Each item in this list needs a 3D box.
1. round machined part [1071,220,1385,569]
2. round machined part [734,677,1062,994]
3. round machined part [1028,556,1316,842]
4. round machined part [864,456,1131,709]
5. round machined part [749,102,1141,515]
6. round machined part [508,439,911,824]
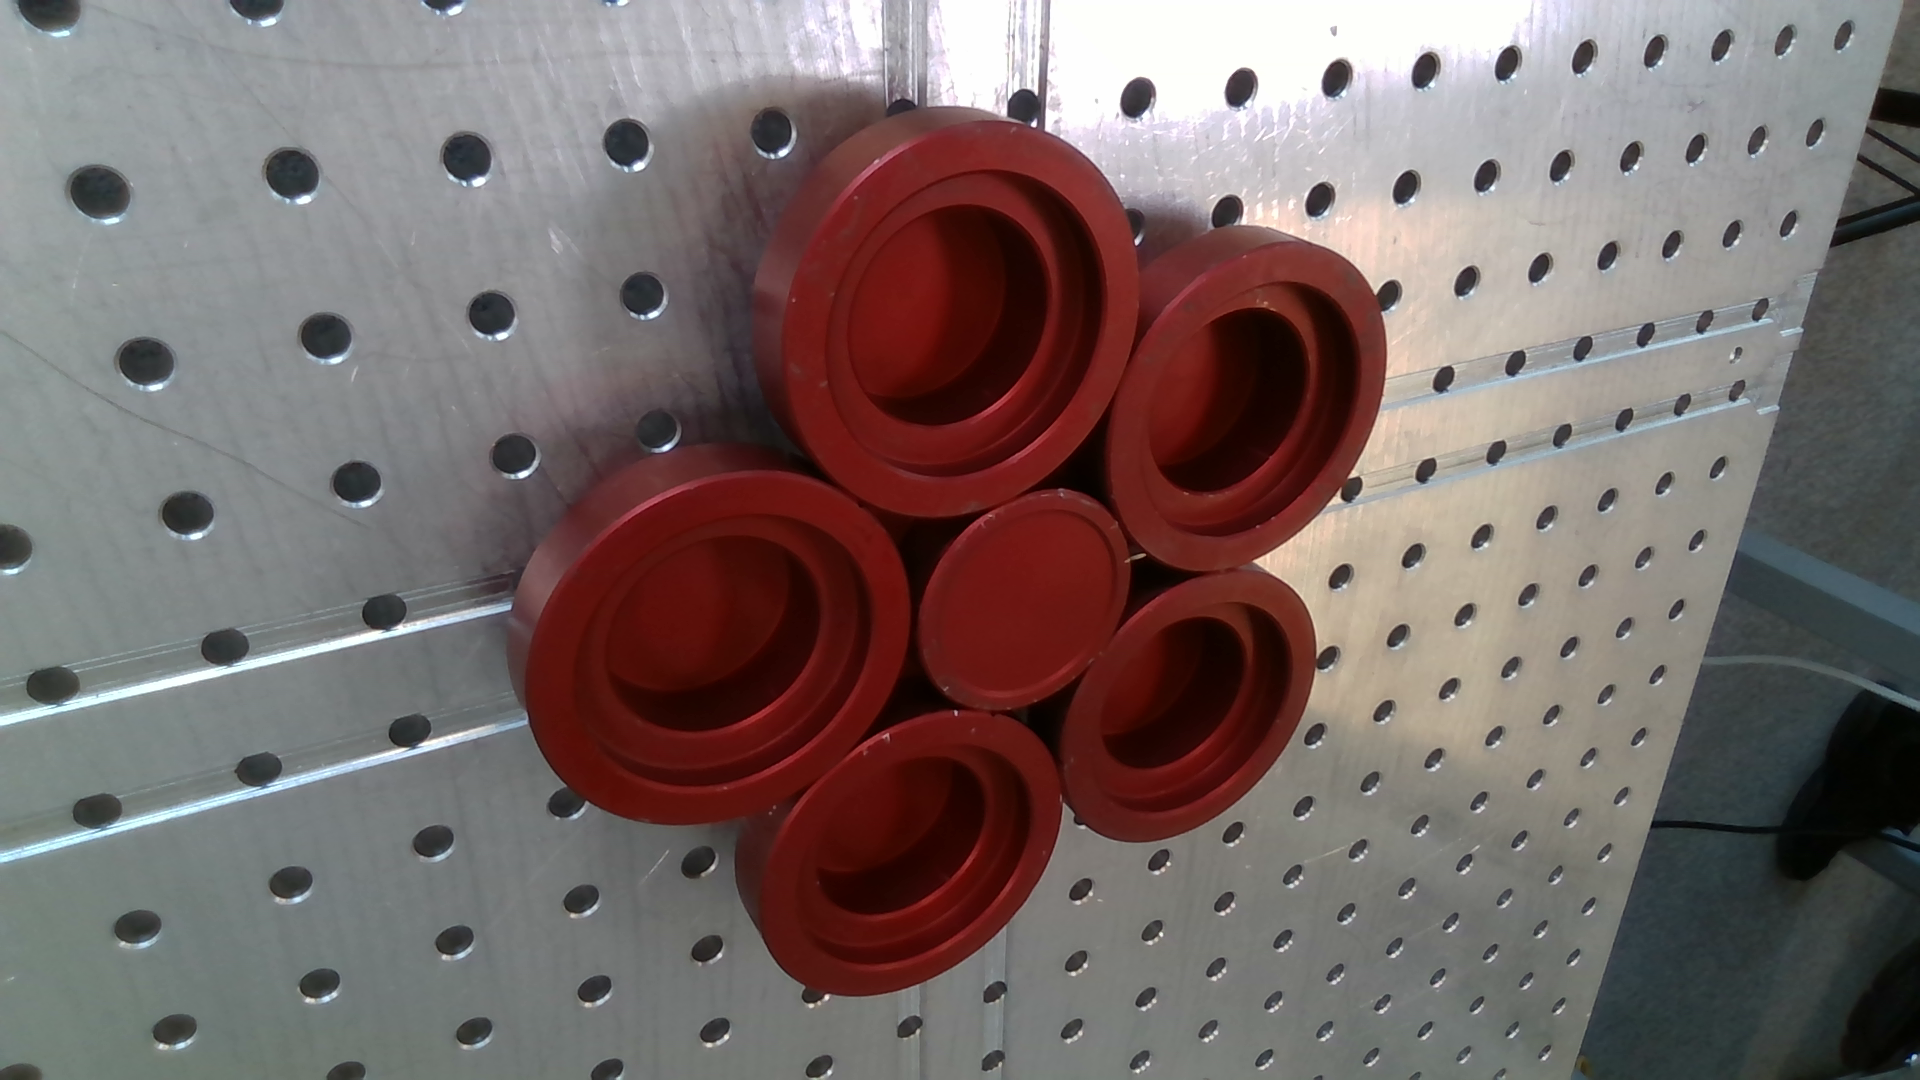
[{"bbox_3d":[0.072,-0.044,0.401,0.098,0.042,0.098,-14,122,-25],"label":"round machined part"},{"bbox_3d":[-0.022,0.083,0.413,0.098,0.042,0.098,-14,122,-25],"label":"round machined part"},{"bbox_3d":[0.063,0.045,0.444,0.098,0.042,0.098,-14,122,-25],"label":"round machined part"},{"bbox_3d":[0.009,0.008,0.391,0.098,0.042,0.098,-14,122,-25],"label":"round machined part"},{"bbox_3d":[-0.007,-0.059,0.344,0.098,0.042,0.098,-14,122,-25],"label":"round machined part"},{"bbox_3d":[-0.065,0.020,0.351,0.098,0.042,0.098,-14,122,-25],"label":"round machined part"}]
